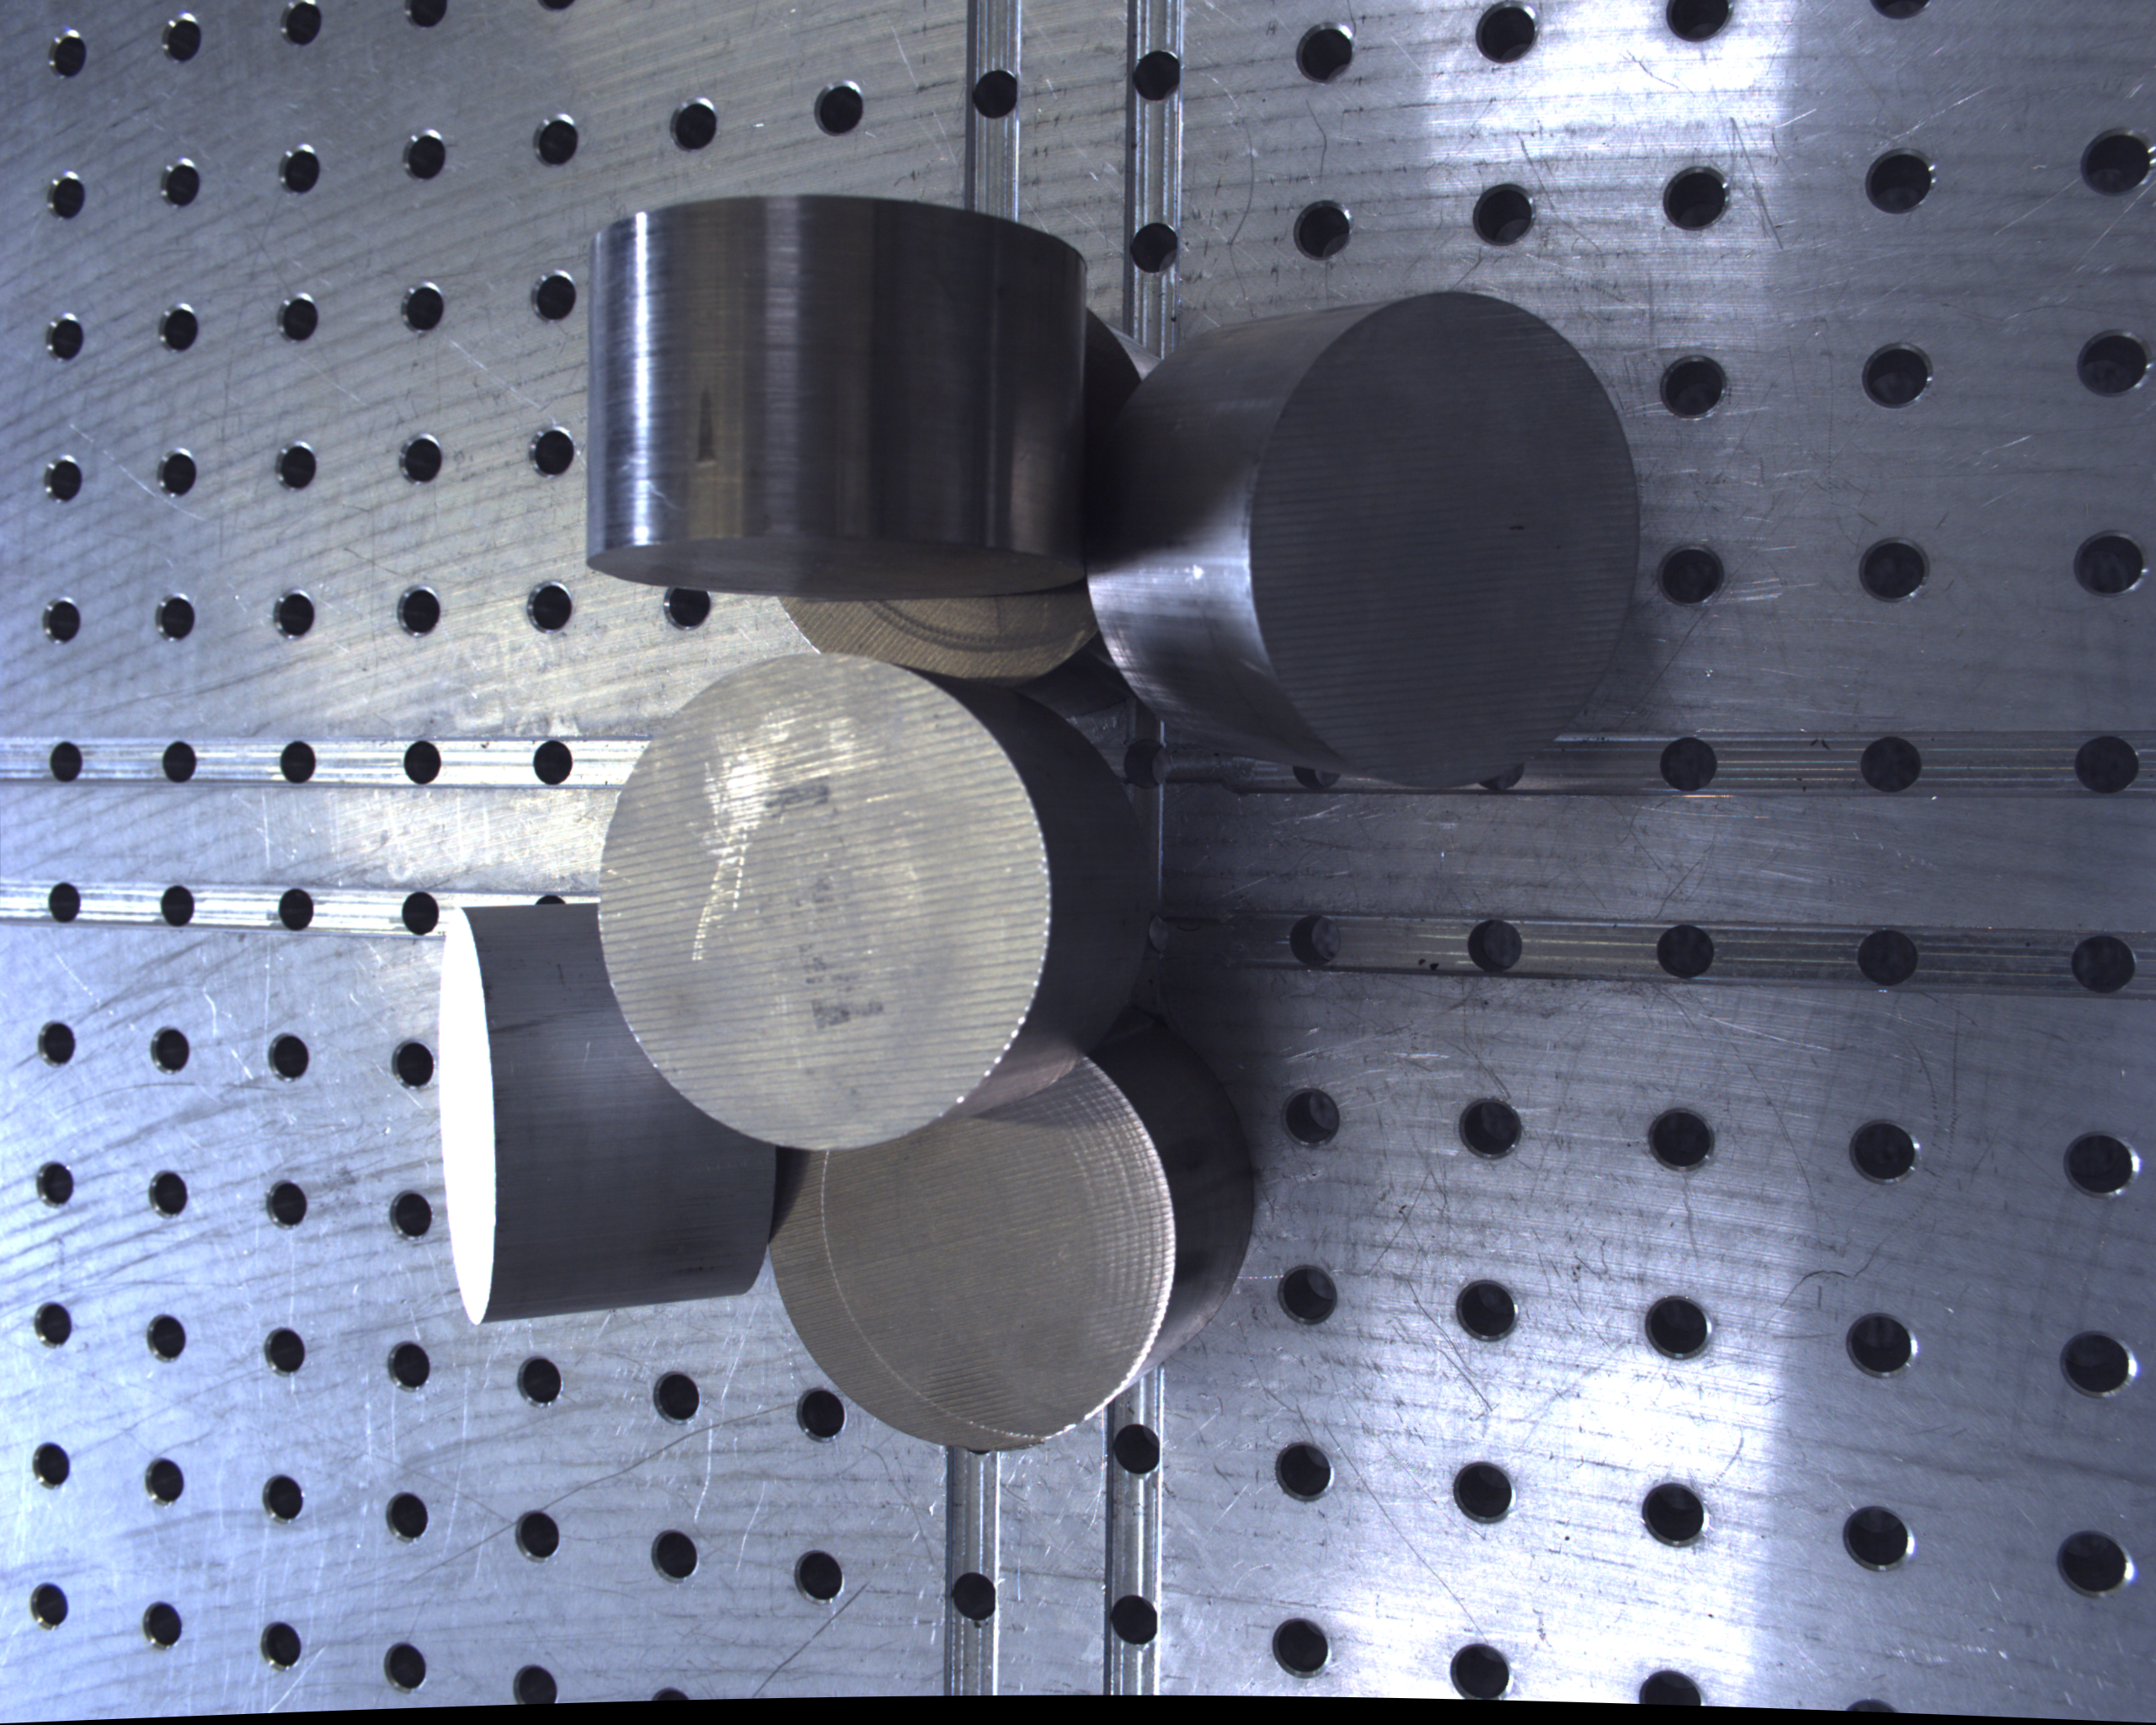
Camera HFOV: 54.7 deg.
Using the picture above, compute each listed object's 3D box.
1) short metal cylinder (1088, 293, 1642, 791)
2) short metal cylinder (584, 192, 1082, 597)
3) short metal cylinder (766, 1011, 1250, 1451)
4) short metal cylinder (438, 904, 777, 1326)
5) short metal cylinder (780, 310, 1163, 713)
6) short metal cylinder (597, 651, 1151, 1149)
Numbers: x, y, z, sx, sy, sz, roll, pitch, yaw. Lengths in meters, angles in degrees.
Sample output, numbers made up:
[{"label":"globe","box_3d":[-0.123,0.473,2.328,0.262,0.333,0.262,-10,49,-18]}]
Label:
[{"label":"short metal cylinder","box_3d":[0.049,-0.055,0.359,0.050,0.081,0.079,16,97,60]},{"label":"short metal cylinder","box_3d":[-0.040,-0.073,0.343,0.080,0.080,0.050,1,90,20]},{"label":"short metal cylinder","box_3d":[-0.012,0.067,0.403,0.080,0.050,0.079,0,91,19]},{"label":"short metal cylinder","box_3d":[-0.095,0.048,0.411,0.050,0.080,0.080,-2,89,-24]},{"label":"short metal cylinder","box_3d":[-0.015,-0.069,0.404,0.080,0.050,0.079,0,91,20]},{"label":"short metal cylinder","box_3d":[-0.033,0.006,0.357,0.080,0.050,0.079,0,90,20]}]
